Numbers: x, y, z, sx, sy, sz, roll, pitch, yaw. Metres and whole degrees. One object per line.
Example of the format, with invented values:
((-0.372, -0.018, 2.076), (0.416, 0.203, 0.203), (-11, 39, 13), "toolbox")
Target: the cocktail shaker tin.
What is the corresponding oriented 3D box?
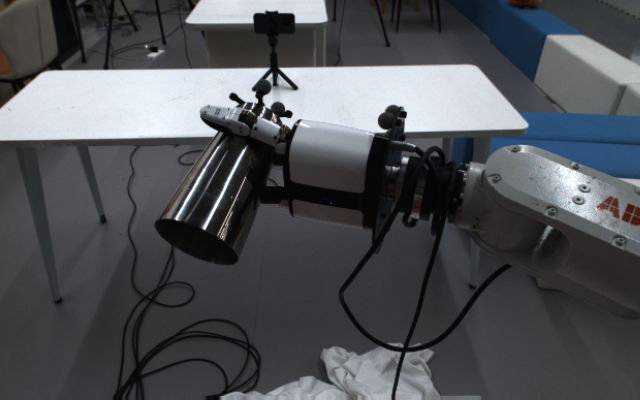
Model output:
((-0.100, -0.026, 0.536), (0.093, 0.093, 0.170), (13, 59, 16), "cocktail shaker tin")
